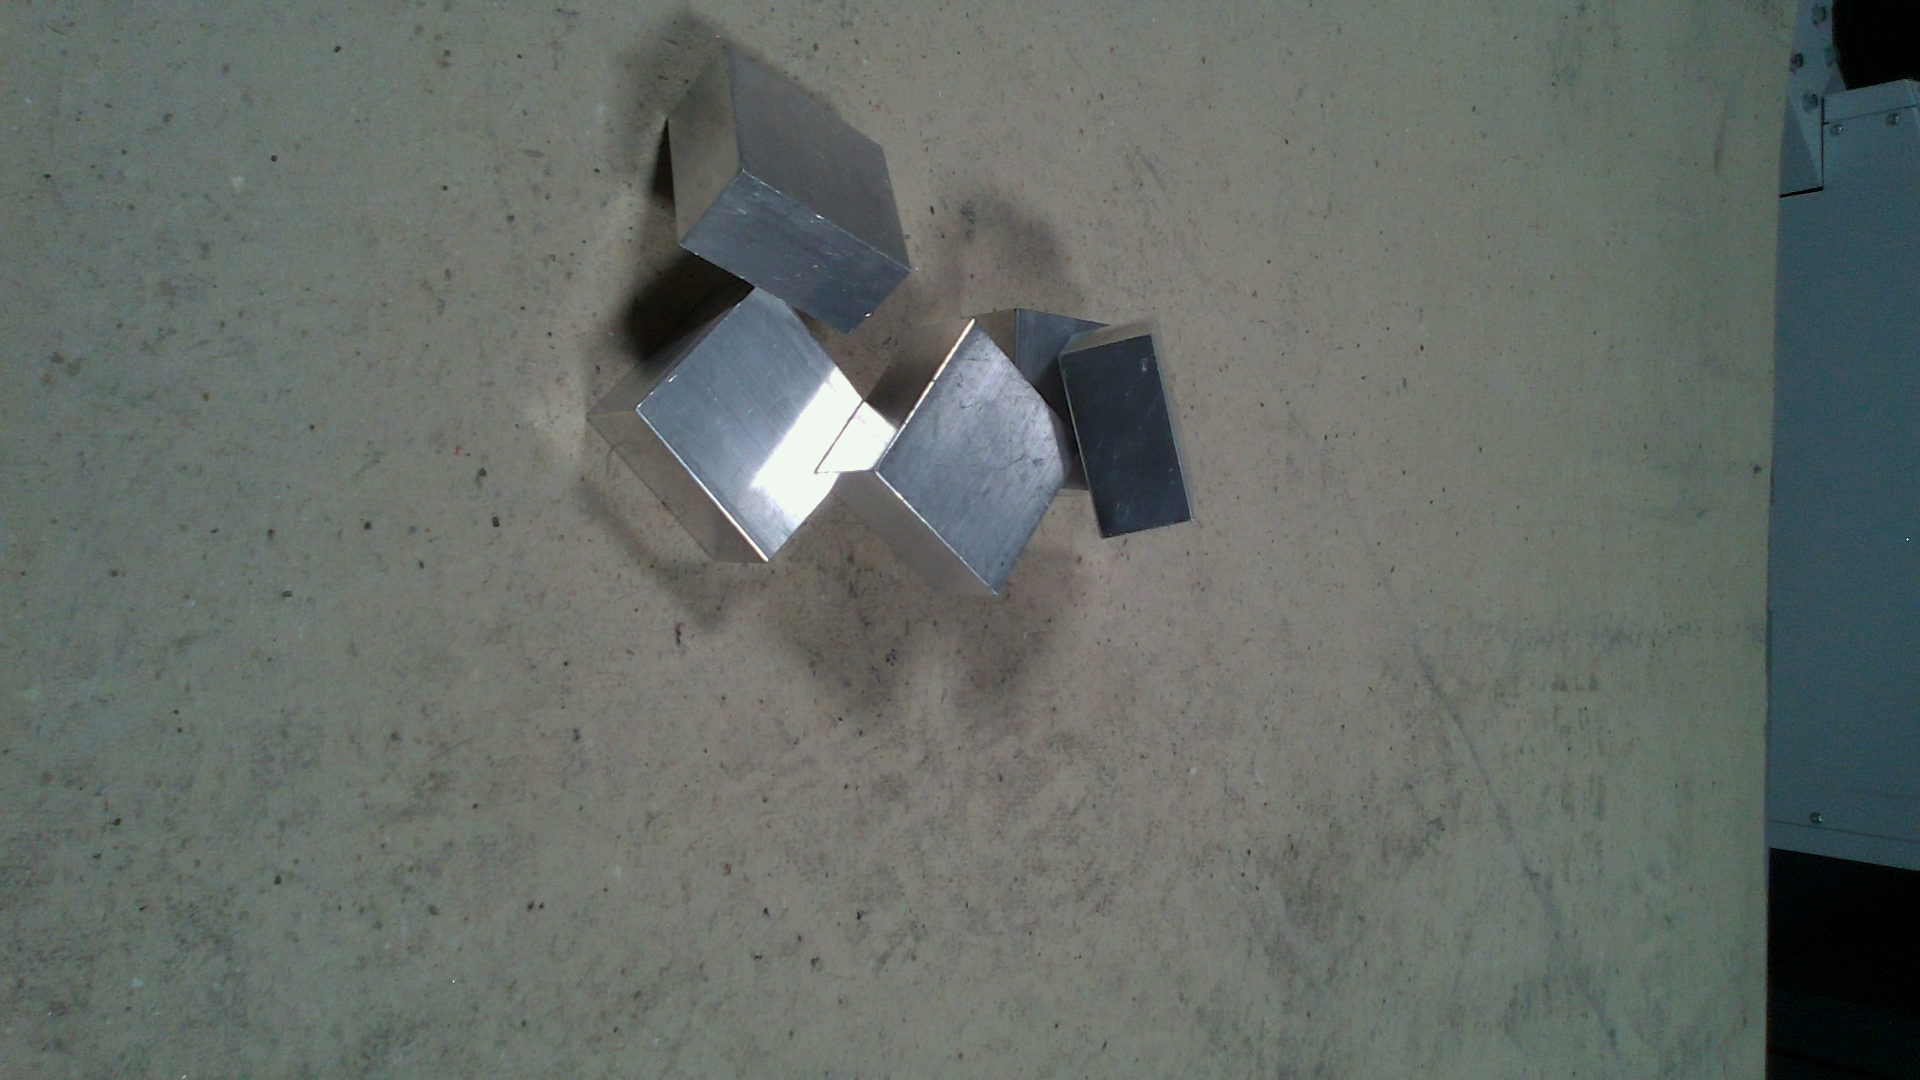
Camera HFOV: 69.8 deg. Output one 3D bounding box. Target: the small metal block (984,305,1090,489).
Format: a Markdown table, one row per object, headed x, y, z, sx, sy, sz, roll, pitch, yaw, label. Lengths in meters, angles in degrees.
| x | y | z | sx | sy | sz | roll | pitch | yaw | label |
| --- | --- | --- | --- | --- | --- | --- | --- | --- | --- |
| 0.026 | -0.040 | 0.411 | 0.050 | 0.025 | 0.050 | 3 | 88 | -40 | small metal block |

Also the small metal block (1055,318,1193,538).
| x | y | z | sx | sy | sz | roll | pitch | yaw | label |
| --- | --- | --- | --- | --- | --- | --- | --- | --- | --- |
| 0.046 | -0.033 | 0.379 | 0.050 | 0.025 | 0.050 | -58 | 135 | -73 | small metal block |

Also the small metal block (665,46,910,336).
| x | y | z | sx | sy | sz | roll | pitch | yaw | label |
| --- | --- | --- | --- | --- | --- | --- | --- | --- | --- |
| -0.043 | -0.085 | 0.338 | 0.050 | 0.025 | 0.050 | 24 | 39 | -37 | small metal block |

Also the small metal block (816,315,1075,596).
| x | y | z | sx | sy | sz | roll | pitch | yaw | label |
| --- | --- | --- | --- | --- | --- | --- | --- | --- | --- |
| -0.001 | -0.021 | 0.354 | 0.050 | 0.025 | 0.050 | 45 | 63 | -30 | small metal block |

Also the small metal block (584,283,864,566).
| x | y | z | sx | sy | sz | roll | pitch | yaw | label |
| --- | --- | --- | --- | --- | --- | --- | --- | --- | --- |
| -0.055 | -0.029 | 0.343 | 0.050 | 0.025 | 0.050 | -52 | 120 | -27 | small metal block |
